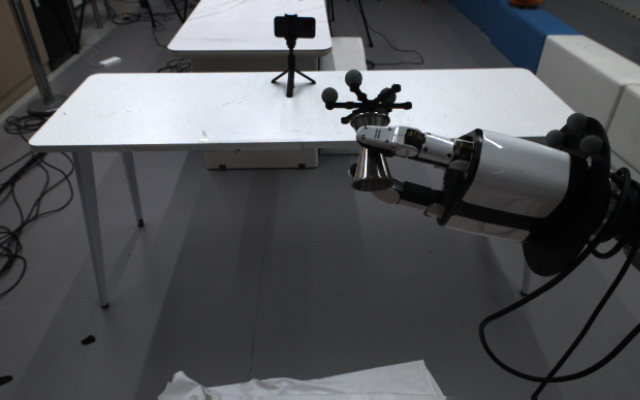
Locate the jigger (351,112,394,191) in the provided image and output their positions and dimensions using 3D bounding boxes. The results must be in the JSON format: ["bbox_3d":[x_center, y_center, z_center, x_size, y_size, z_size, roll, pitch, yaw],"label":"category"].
[{"bbox_3d":[0.052,-0.048,0.478,0.043,0.043,0.071,0,75,-4],"label":"jigger"}]
